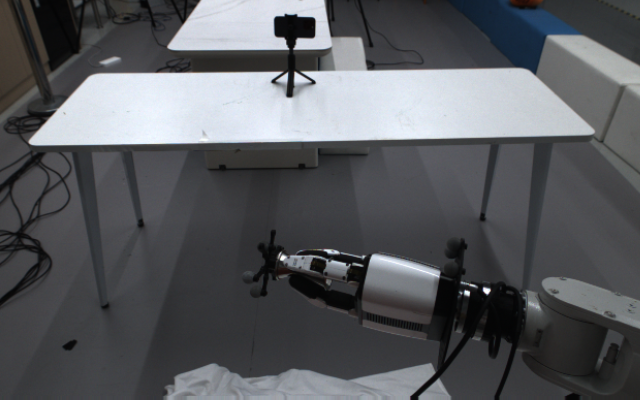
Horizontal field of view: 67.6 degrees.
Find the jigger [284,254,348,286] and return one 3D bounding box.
[{"bbox_3d":[-0.012,0.085,0.623,0.071,0.043,0.043,8,35,15],"label":"jigger"}]
